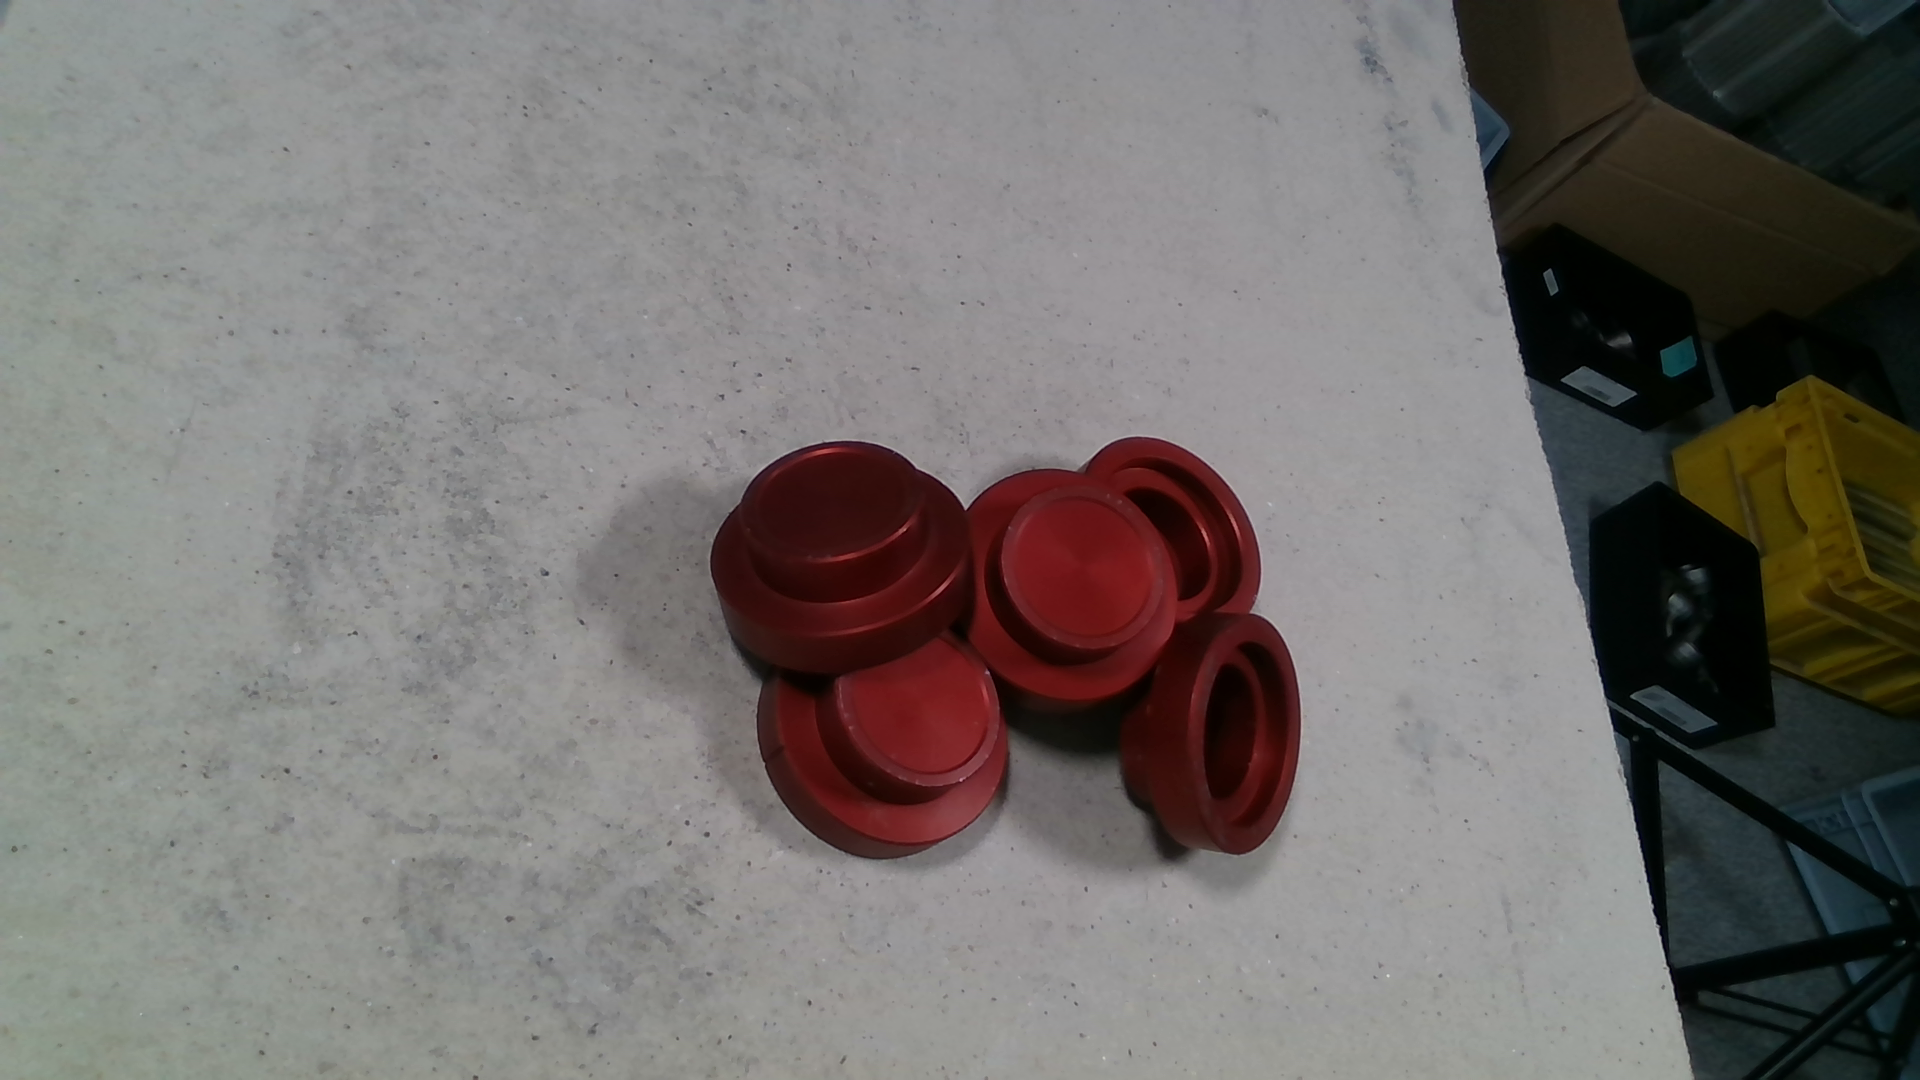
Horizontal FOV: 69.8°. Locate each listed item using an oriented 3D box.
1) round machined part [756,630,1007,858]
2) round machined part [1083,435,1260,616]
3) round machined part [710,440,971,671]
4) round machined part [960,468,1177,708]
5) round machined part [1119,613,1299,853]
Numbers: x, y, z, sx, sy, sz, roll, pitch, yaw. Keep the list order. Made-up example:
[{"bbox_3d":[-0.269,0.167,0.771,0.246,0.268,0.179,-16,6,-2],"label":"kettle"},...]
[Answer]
[{"bbox_3d":[-0.024,0.067,0.524,0.098,0.042,0.098,14,59,-25],"label":"round machined part"},{"bbox_3d":[0.085,0.005,0.625,0.098,0.042,0.098,14,59,-25],"label":"round machined part"},{"bbox_3d":[-0.045,-0.001,0.515,0.098,0.042,0.098,-4,42,3],"label":"round machined part"},{"bbox_3d":[0.043,0.016,0.550,0.098,0.042,0.098,6,69,-17],"label":"round machined part"},{"bbox_3d":[0.102,0.079,0.578,0.098,0.042,0.098,0,90,-51],"label":"round machined part"}]
